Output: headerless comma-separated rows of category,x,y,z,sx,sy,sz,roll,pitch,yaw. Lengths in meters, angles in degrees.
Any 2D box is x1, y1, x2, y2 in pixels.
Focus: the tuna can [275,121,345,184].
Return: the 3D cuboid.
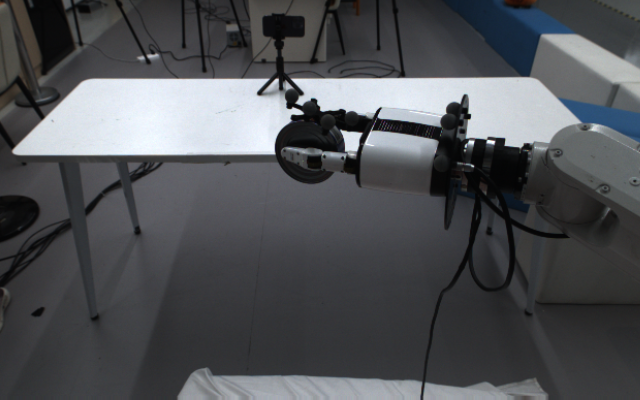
tuna can,-0.012,-0.066,0.623,0.085,0.085,0.034,12,30,14
